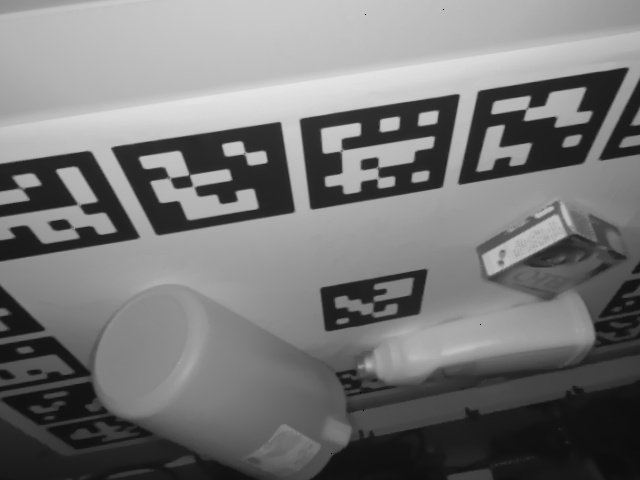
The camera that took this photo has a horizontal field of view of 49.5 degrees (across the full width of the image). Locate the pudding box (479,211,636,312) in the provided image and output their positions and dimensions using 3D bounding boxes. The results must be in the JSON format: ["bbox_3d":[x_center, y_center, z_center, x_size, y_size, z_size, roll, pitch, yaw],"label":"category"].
[{"bbox_3d":[0.215,0.024,0.630,0.115,0.039,0.088,22,138,-35],"label":"pudding box"}]

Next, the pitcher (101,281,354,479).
[{"bbox_3d":[-0.090,0.138,0.657,0.186,0.134,0.243,7,152,38],"label":"pitcher"}]

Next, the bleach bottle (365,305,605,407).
[{"bbox_3d":[0.174,0.140,0.763,0.251,0.068,0.102,-11,140,2],"label":"bleach bottle"}]
